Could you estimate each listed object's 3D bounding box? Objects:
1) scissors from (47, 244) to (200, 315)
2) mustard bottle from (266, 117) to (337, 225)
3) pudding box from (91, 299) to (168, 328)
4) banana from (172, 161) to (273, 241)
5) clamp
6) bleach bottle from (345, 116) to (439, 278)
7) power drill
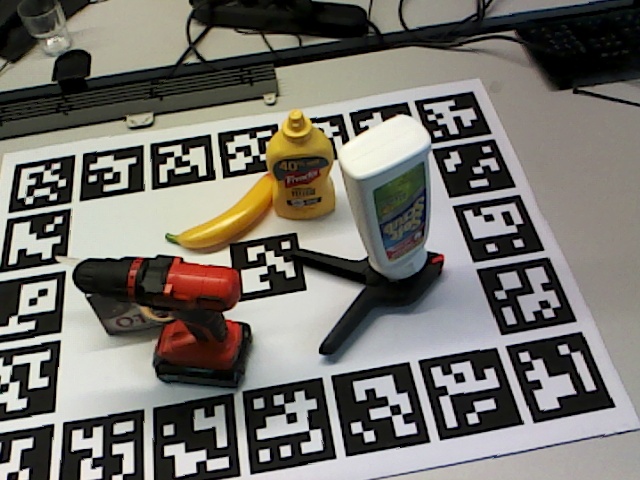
[{"bbox_3d":[-0.255,0.035,0.780,0.203,0.016,0.088,14,61,9],"label":"scissors"},{"bbox_3d":[-0.026,-0.099,0.877,0.096,0.191,0.058,3,55,5],"label":"mustard bottle"},{"bbox_3d":[-0.242,0.076,0.828,0.114,0.089,0.039,-5,48,0],"label":"pudding box"},{"bbox_3d":[-0.131,-0.056,0.936,0.075,0.038,0.197,26,60,40],"label":"banana"},{"bbox_3d":[0.073,0.048,0.836,0.202,0.036,0.166,-14,57,-7],"label":"clamp"},{"bbox_3d":[0.099,-0.030,0.761,0.102,0.249,0.068,-28,53,-6],"label":"bleach bottle"},{"bbox_3d":[-0.176,0.090,0.719,0.185,0.186,0.057,0,48,8],"label":"power drill"}]
